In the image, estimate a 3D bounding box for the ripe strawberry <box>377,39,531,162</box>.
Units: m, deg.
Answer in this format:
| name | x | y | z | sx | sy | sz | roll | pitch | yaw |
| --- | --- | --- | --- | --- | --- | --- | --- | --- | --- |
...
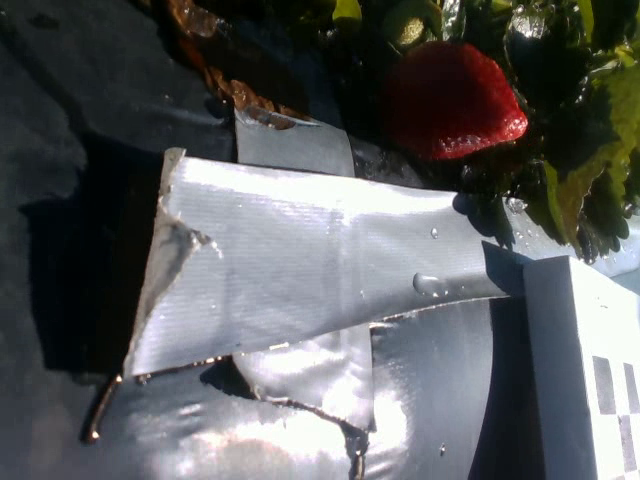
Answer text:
| name | x | y | z | sx | sy | sz | roll | pitch | yaw |
| --- | --- | --- | --- | --- | --- | --- | --- | --- | --- |
| ripe strawberry | 0.058 | -0.046 | 0.227 | 0.058 | 0.061 | 0.065 | -36 | 30 | -1 |
